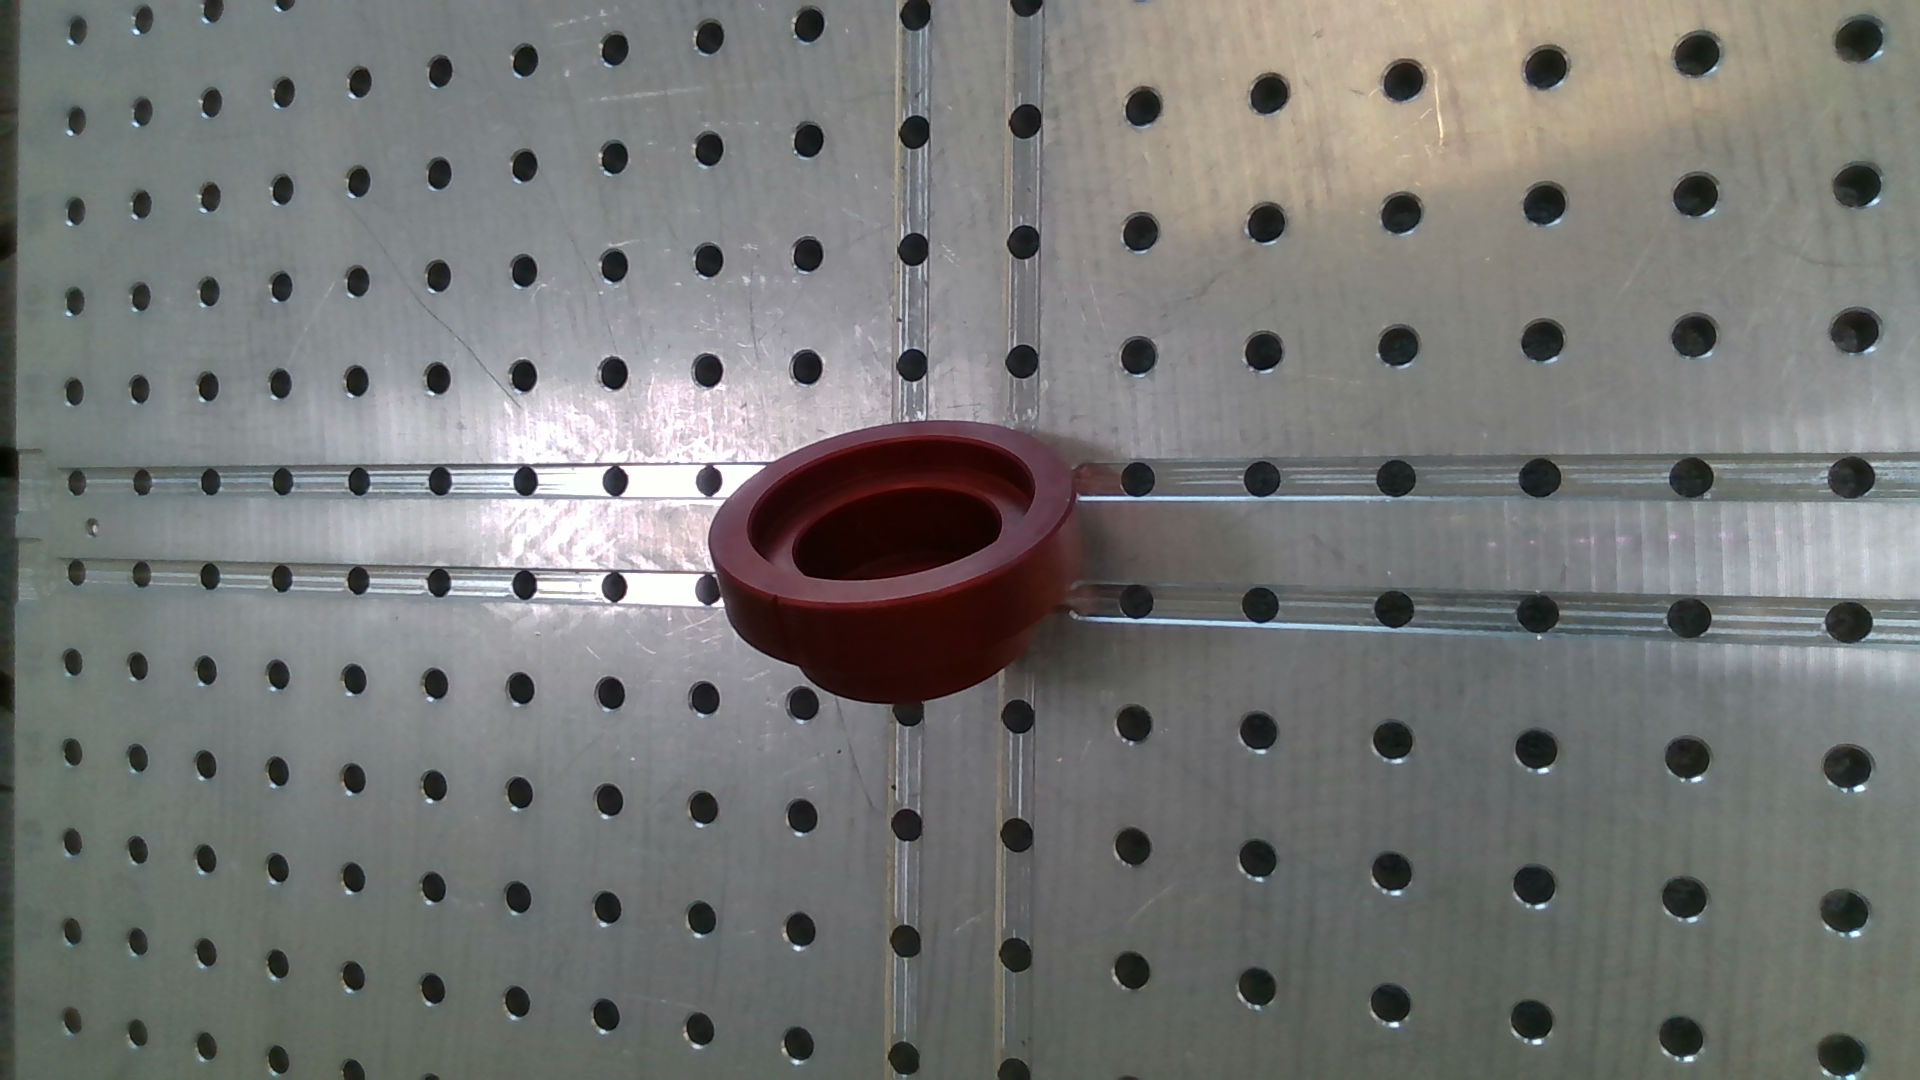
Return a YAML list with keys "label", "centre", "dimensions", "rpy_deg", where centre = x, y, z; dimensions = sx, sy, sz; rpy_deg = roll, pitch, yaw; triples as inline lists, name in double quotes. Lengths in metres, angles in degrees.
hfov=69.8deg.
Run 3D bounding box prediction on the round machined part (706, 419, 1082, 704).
- label: "round machined part"
  centre: [-0.016, 0.007, 0.373]
  dimensions: [0.098, 0.098, 0.042]
  rpy_deg: [3, 122, 20]
